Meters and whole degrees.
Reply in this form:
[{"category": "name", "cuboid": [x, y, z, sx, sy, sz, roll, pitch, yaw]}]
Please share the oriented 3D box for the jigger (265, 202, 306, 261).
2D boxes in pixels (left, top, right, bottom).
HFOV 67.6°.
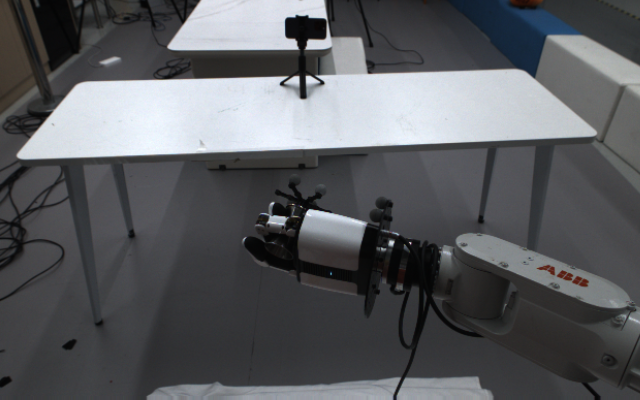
[{"category": "jigger", "cuboid": [-0.043, 0.042, 0.675, 0.043, 0.043, 0.071, 15, 58, 18]}]
